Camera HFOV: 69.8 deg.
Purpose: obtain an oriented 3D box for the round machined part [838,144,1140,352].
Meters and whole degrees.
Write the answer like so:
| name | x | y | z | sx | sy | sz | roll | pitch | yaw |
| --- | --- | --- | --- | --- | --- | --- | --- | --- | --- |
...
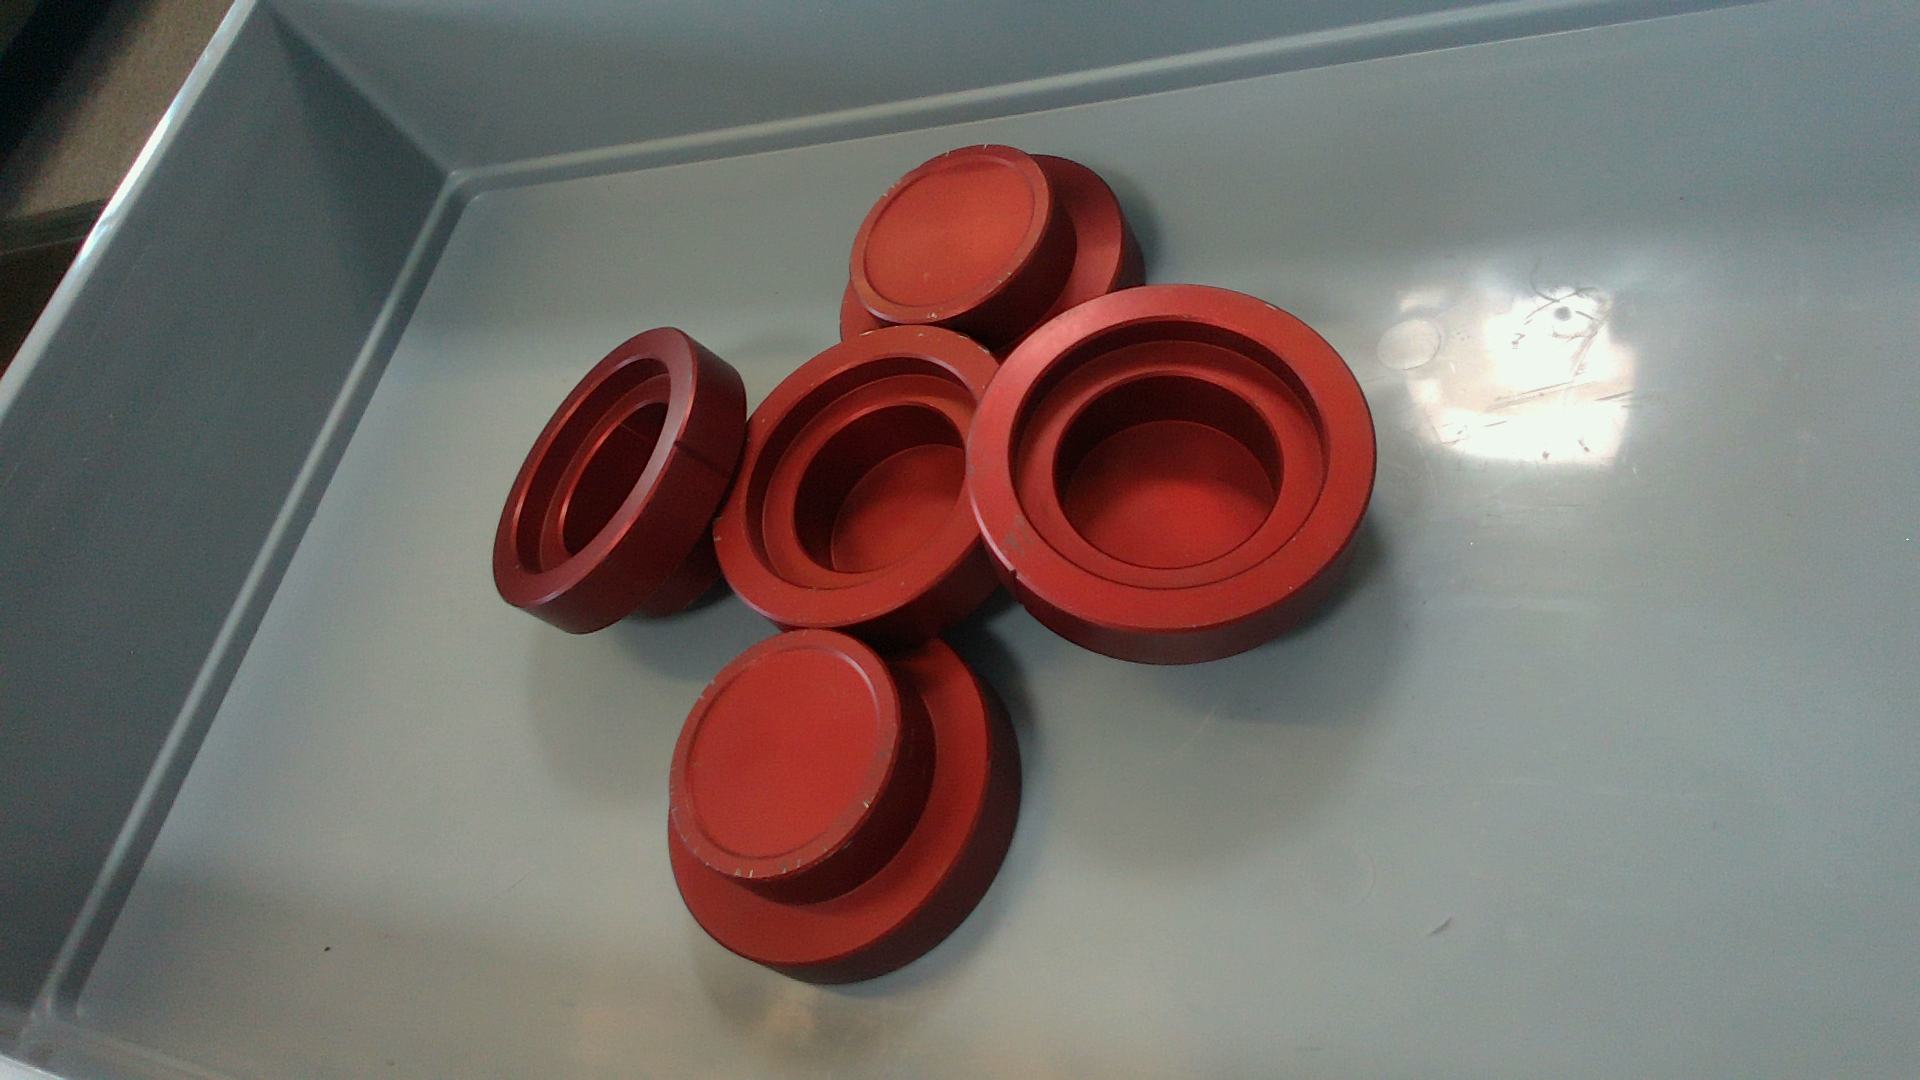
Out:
| name | x | y | z | sx | sy | sz | roll | pitch | yaw |
| --- | --- | --- | --- | --- | --- | --- | --- | --- | --- |
| round machined part | 0.004 | -0.084 | 0.431 | 0.098 | 0.042 | 0.098 | -13 | 56 | 21 |

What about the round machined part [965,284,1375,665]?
| name | x | y | z | sx | sy | sz | roll | pitch | yaw |
| --- | --- | --- | --- | --- | --- | --- | --- | --- | --- |
| round machined part | 0.053 | -0.013 | 0.350 | 0.098 | 0.042 | 0.098 | -4 | 62 | 8 |

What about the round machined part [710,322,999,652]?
| name | x | y | z | sx | sy | sz | roll | pitch | yaw |
| --- | --- | --- | --- | --- | --- | --- | --- | --- | --- |
| round machined part | -0.020 | -0.011 | 0.398 | 0.098 | 0.042 | 0.098 | -13 | 56 | 21 |

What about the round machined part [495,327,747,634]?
| name | x | y | z | sx | sy | sz | roll | pitch | yaw |
| --- | --- | --- | --- | --- | --- | --- | --- | --- | --- |
| round machined part | -0.099 | -0.014 | 0.433 | 0.098 | 0.042 | 0.098 | -28 | 44 | 32 |

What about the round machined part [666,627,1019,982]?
| name | x | y | z | sx | sy | sz | roll | pitch | yaw |
| --- | --- | --- | --- | --- | --- | --- | --- | --- | --- |
| round machined part | -0.037 | 0.062 | 0.363 | 0.098 | 0.042 | 0.098 | -13 | 56 | 21 |
